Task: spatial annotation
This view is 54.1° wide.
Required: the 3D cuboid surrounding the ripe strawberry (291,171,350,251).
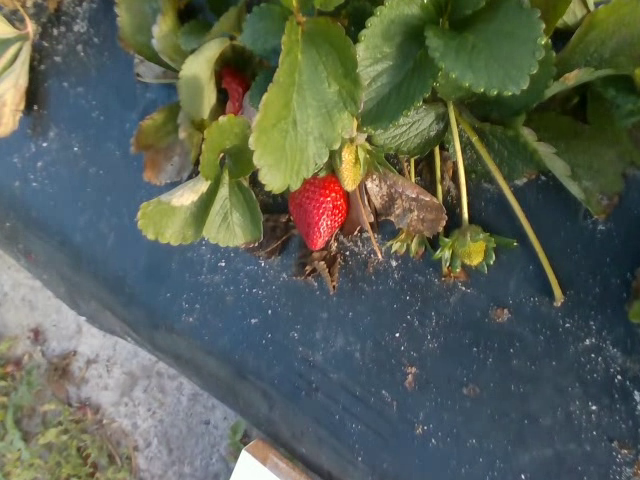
[{"bbox_3d":[-0.002,-0.010,0.243,0.031,0.030,0.025,-9,-17,30],"label":"ripe strawberry"}]
